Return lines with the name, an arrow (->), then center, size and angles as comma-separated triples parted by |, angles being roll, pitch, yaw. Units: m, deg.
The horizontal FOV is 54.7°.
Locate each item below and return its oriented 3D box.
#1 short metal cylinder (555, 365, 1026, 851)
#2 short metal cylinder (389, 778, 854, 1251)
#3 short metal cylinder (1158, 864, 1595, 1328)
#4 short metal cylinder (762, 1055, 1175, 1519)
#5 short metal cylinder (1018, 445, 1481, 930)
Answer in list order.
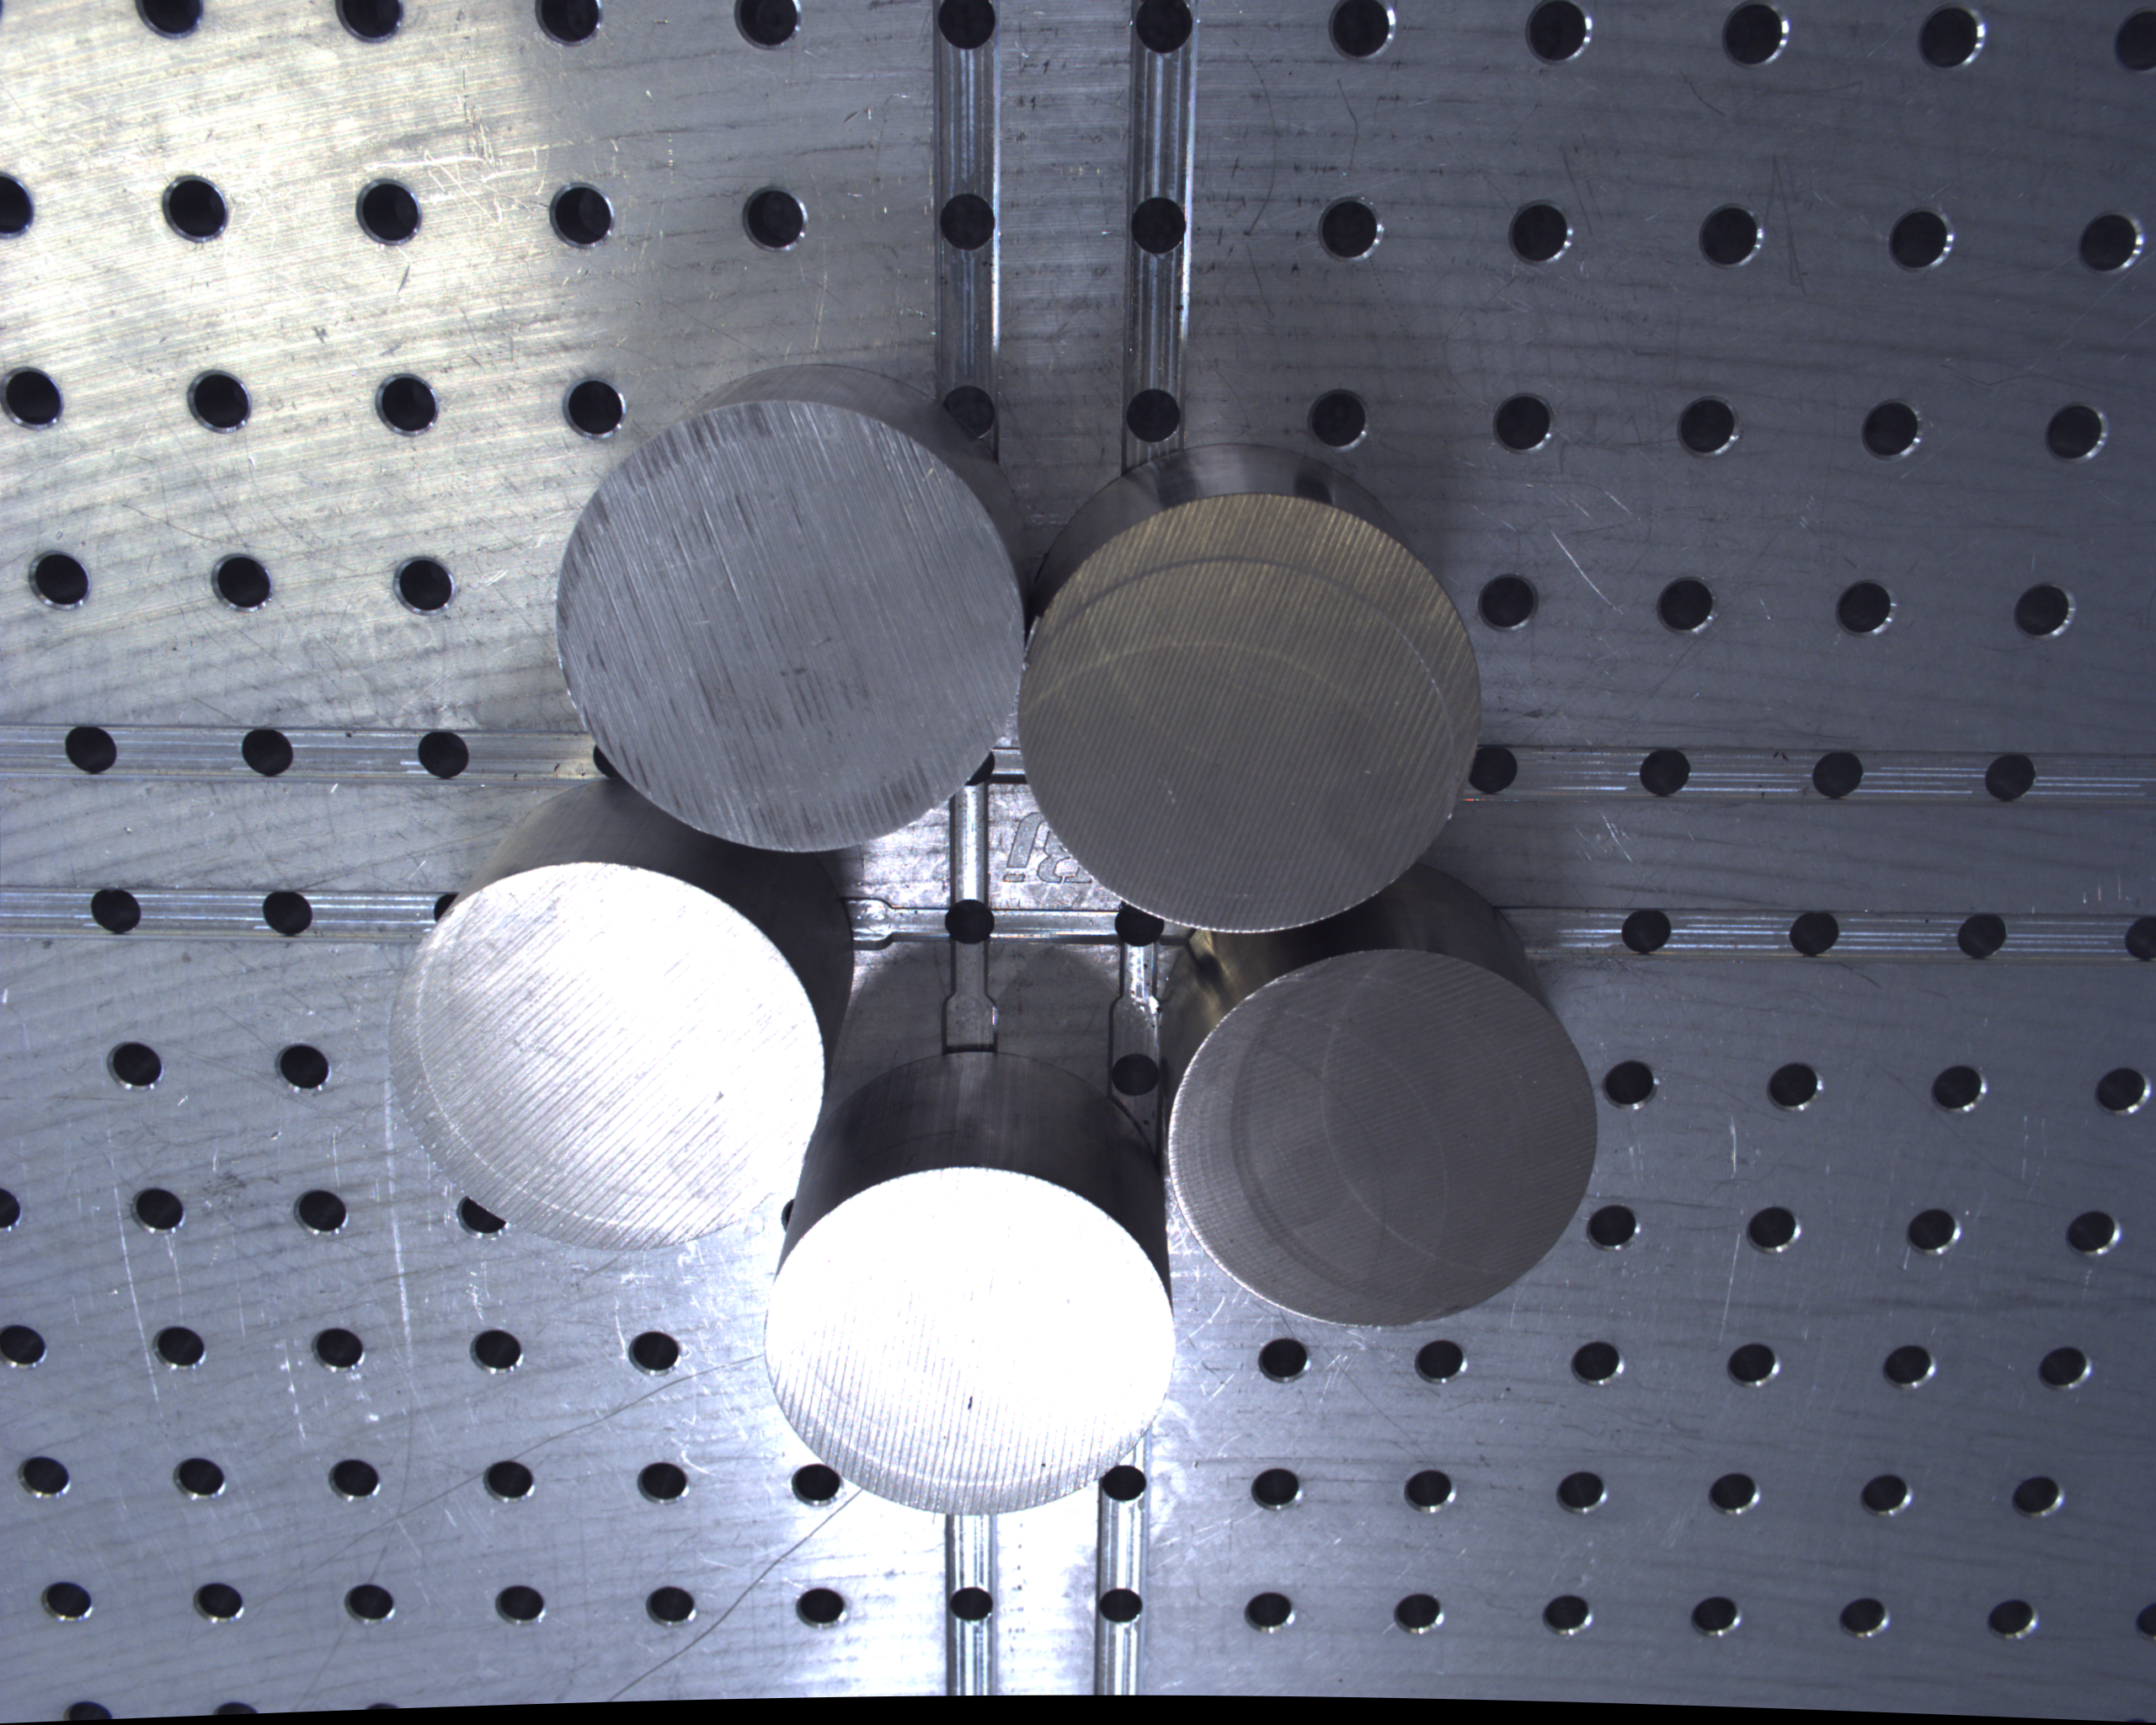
short metal cylinder -> -0.049, -0.048, 0.381 | 0.081, 0.050, 0.079 | 0, 110, -1
short metal cylinder -> -0.087, 0.029, 0.409 | 0.081, 0.050, 0.079 | 0, 111, 0
short metal cylinder -> 0.057, 0.045, 0.416 | 0.081, 0.050, 0.079 | 0, 112, 0
short metal cylinder -> -0.021, 0.086, 0.430 | 0.081, 0.050, 0.079 | 0, 110, 0
short metal cylinder -> 0.030, -0.034, 0.387 | 0.081, 0.050, 0.079 | 0, 110, 0
